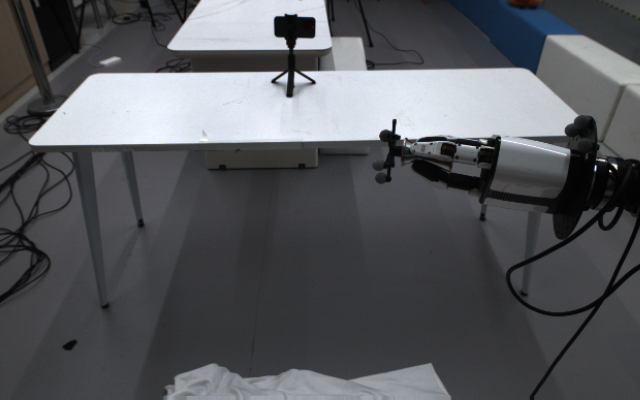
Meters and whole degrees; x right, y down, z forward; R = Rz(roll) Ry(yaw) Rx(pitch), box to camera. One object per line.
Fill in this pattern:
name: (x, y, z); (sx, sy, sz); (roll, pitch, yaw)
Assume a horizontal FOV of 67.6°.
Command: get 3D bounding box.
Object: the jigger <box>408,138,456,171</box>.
jigger: (0.155, -0.067, 0.664); (0.071, 0.043, 0.043); (8, 35, 15)
